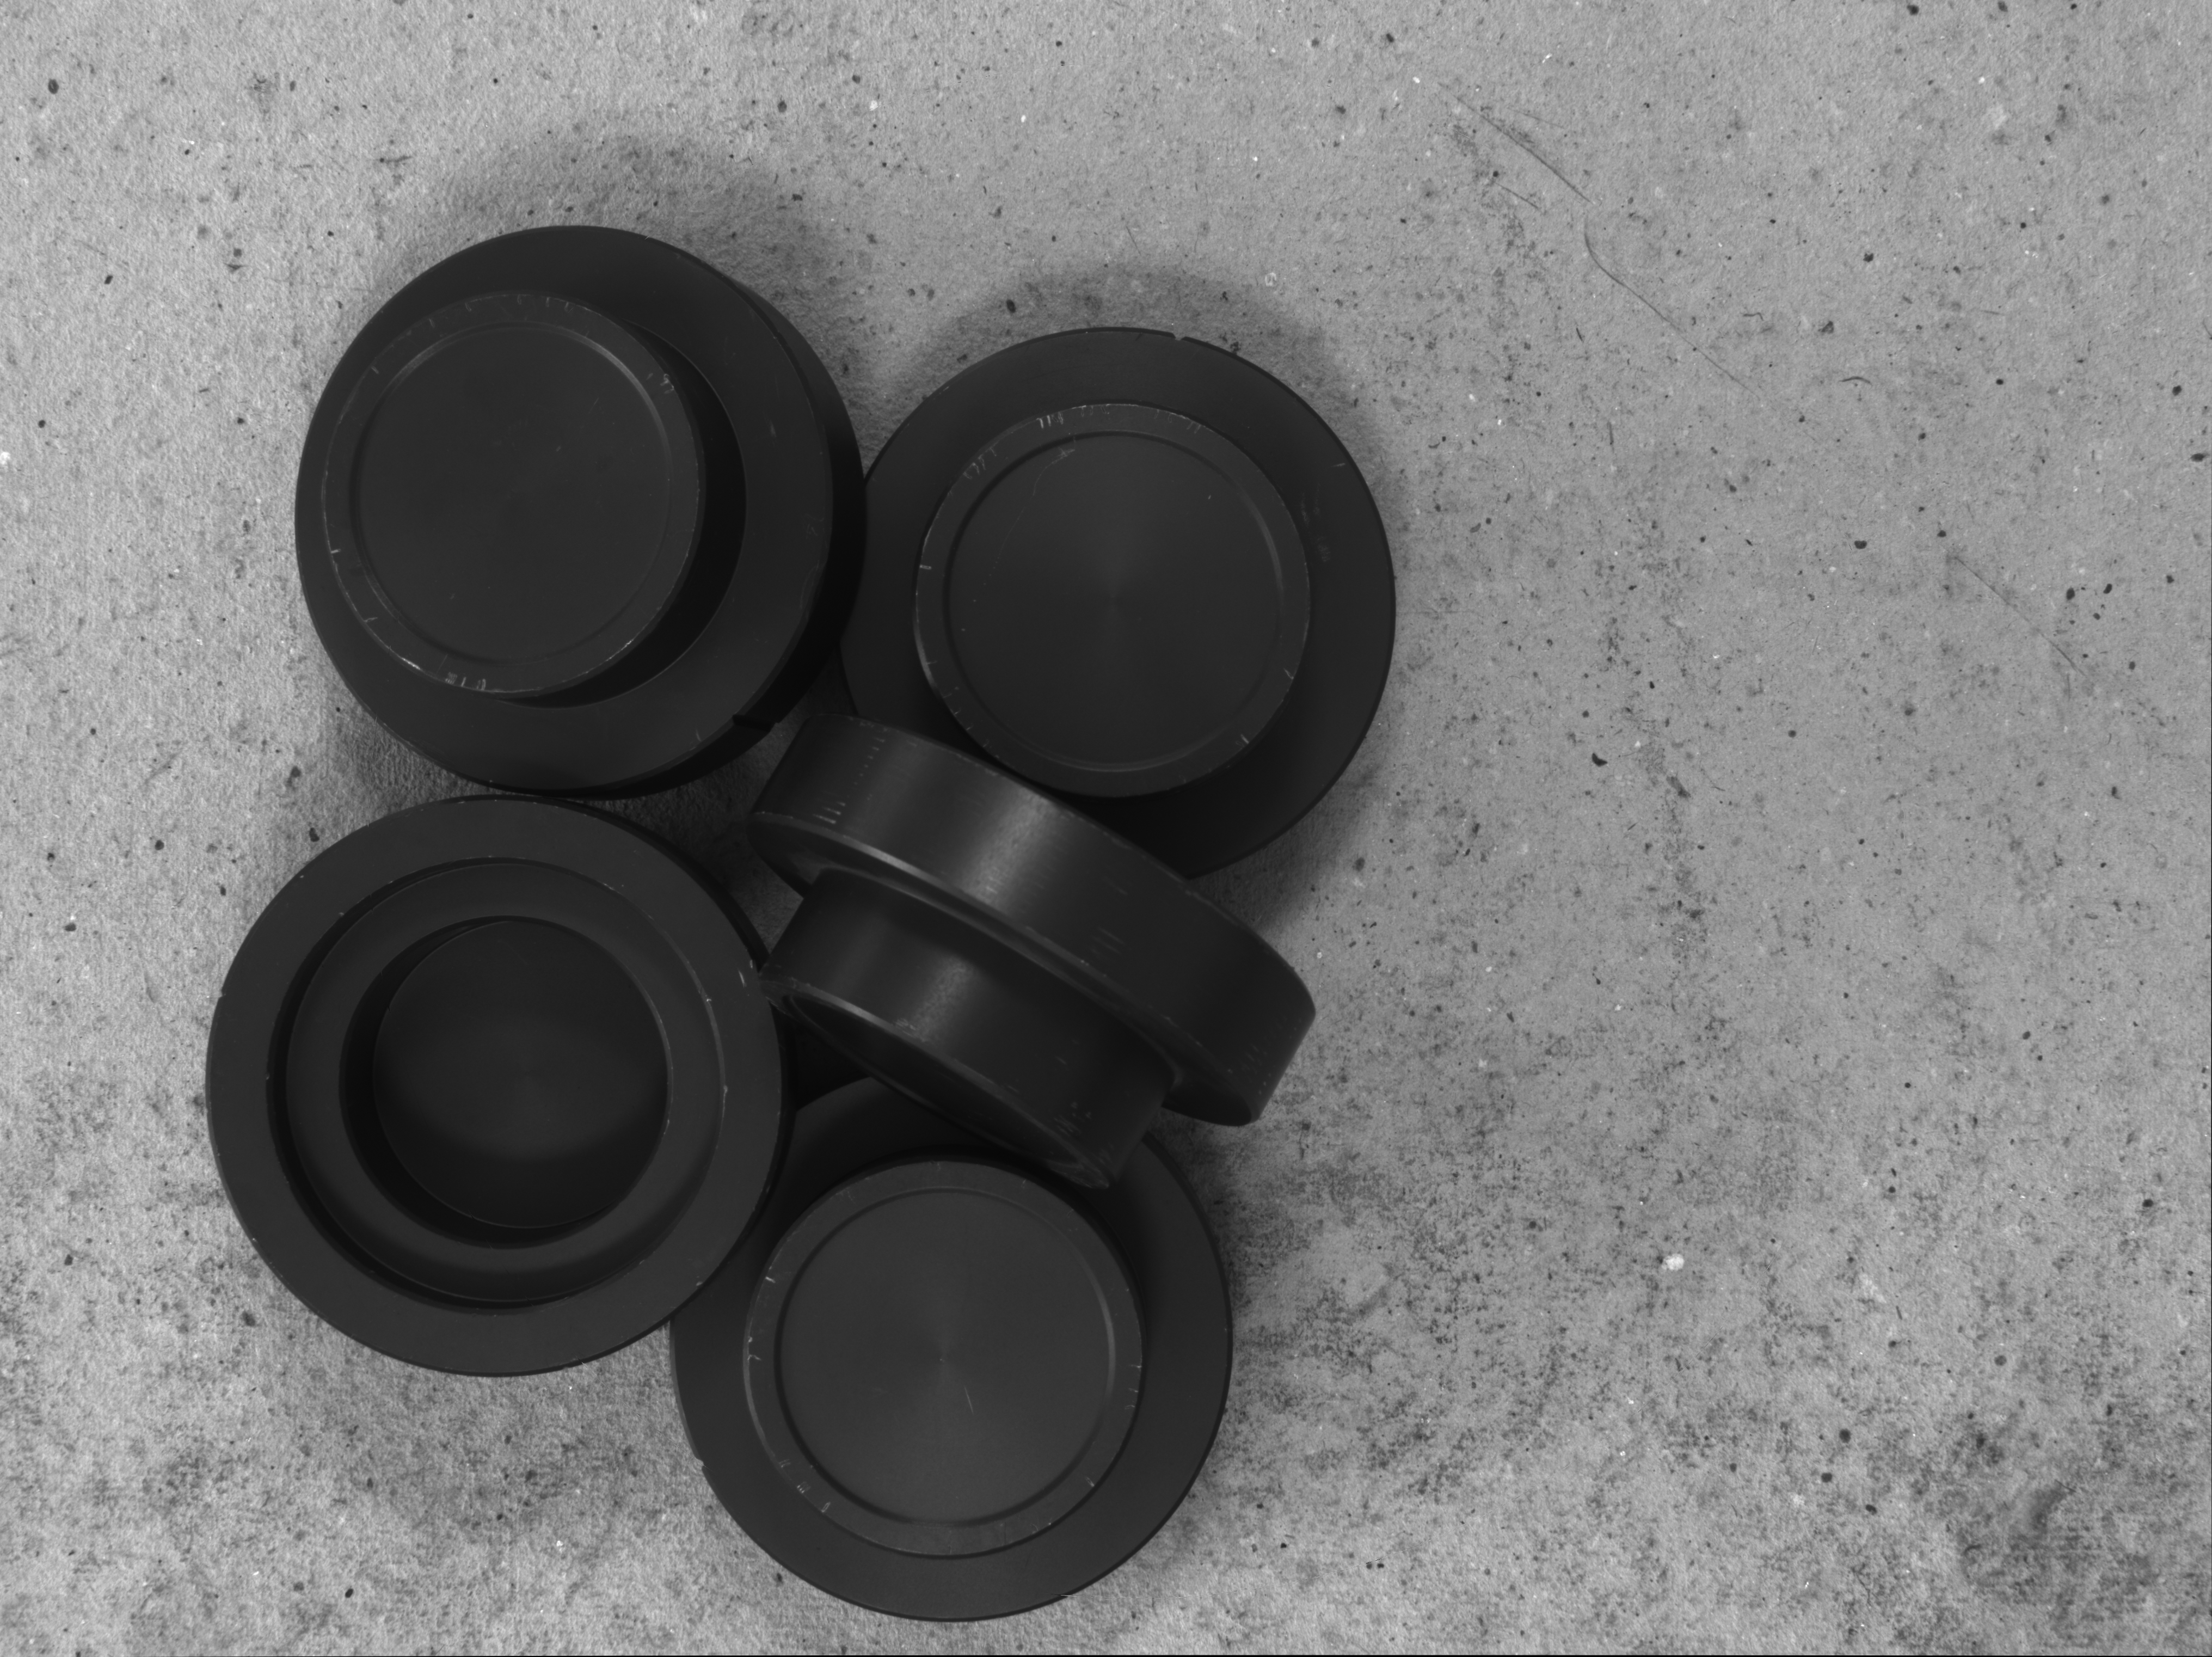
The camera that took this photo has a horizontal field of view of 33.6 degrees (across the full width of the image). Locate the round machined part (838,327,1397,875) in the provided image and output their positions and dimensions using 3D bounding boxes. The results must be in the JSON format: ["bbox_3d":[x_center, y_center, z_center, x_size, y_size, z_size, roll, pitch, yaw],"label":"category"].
[{"bbox_3d":[0.002,-0.038,0.637,0.098,0.042,0.098,0,89,-1],"label":"round machined part"}]

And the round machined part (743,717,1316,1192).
[{"bbox_3d":[-0.018,0.025,0.606,0.098,0.098,0.042,29,77,0],"label":"round machined part"}]

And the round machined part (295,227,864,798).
[{"bbox_3d":[-0.094,-0.054,0.626,0.098,0.042,0.098,-1,88,13],"label":"round machined part"}]

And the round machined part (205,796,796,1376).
[{"bbox_3d":[-0.102,0.043,0.637,0.098,0.042,0.098,0,91,0],"label":"round machined part"}]

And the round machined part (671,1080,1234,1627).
[{"bbox_3d":[-0.027,0.089,0.636,0.098,0.042,0.098,0,88,-1],"label":"round machined part"}]
